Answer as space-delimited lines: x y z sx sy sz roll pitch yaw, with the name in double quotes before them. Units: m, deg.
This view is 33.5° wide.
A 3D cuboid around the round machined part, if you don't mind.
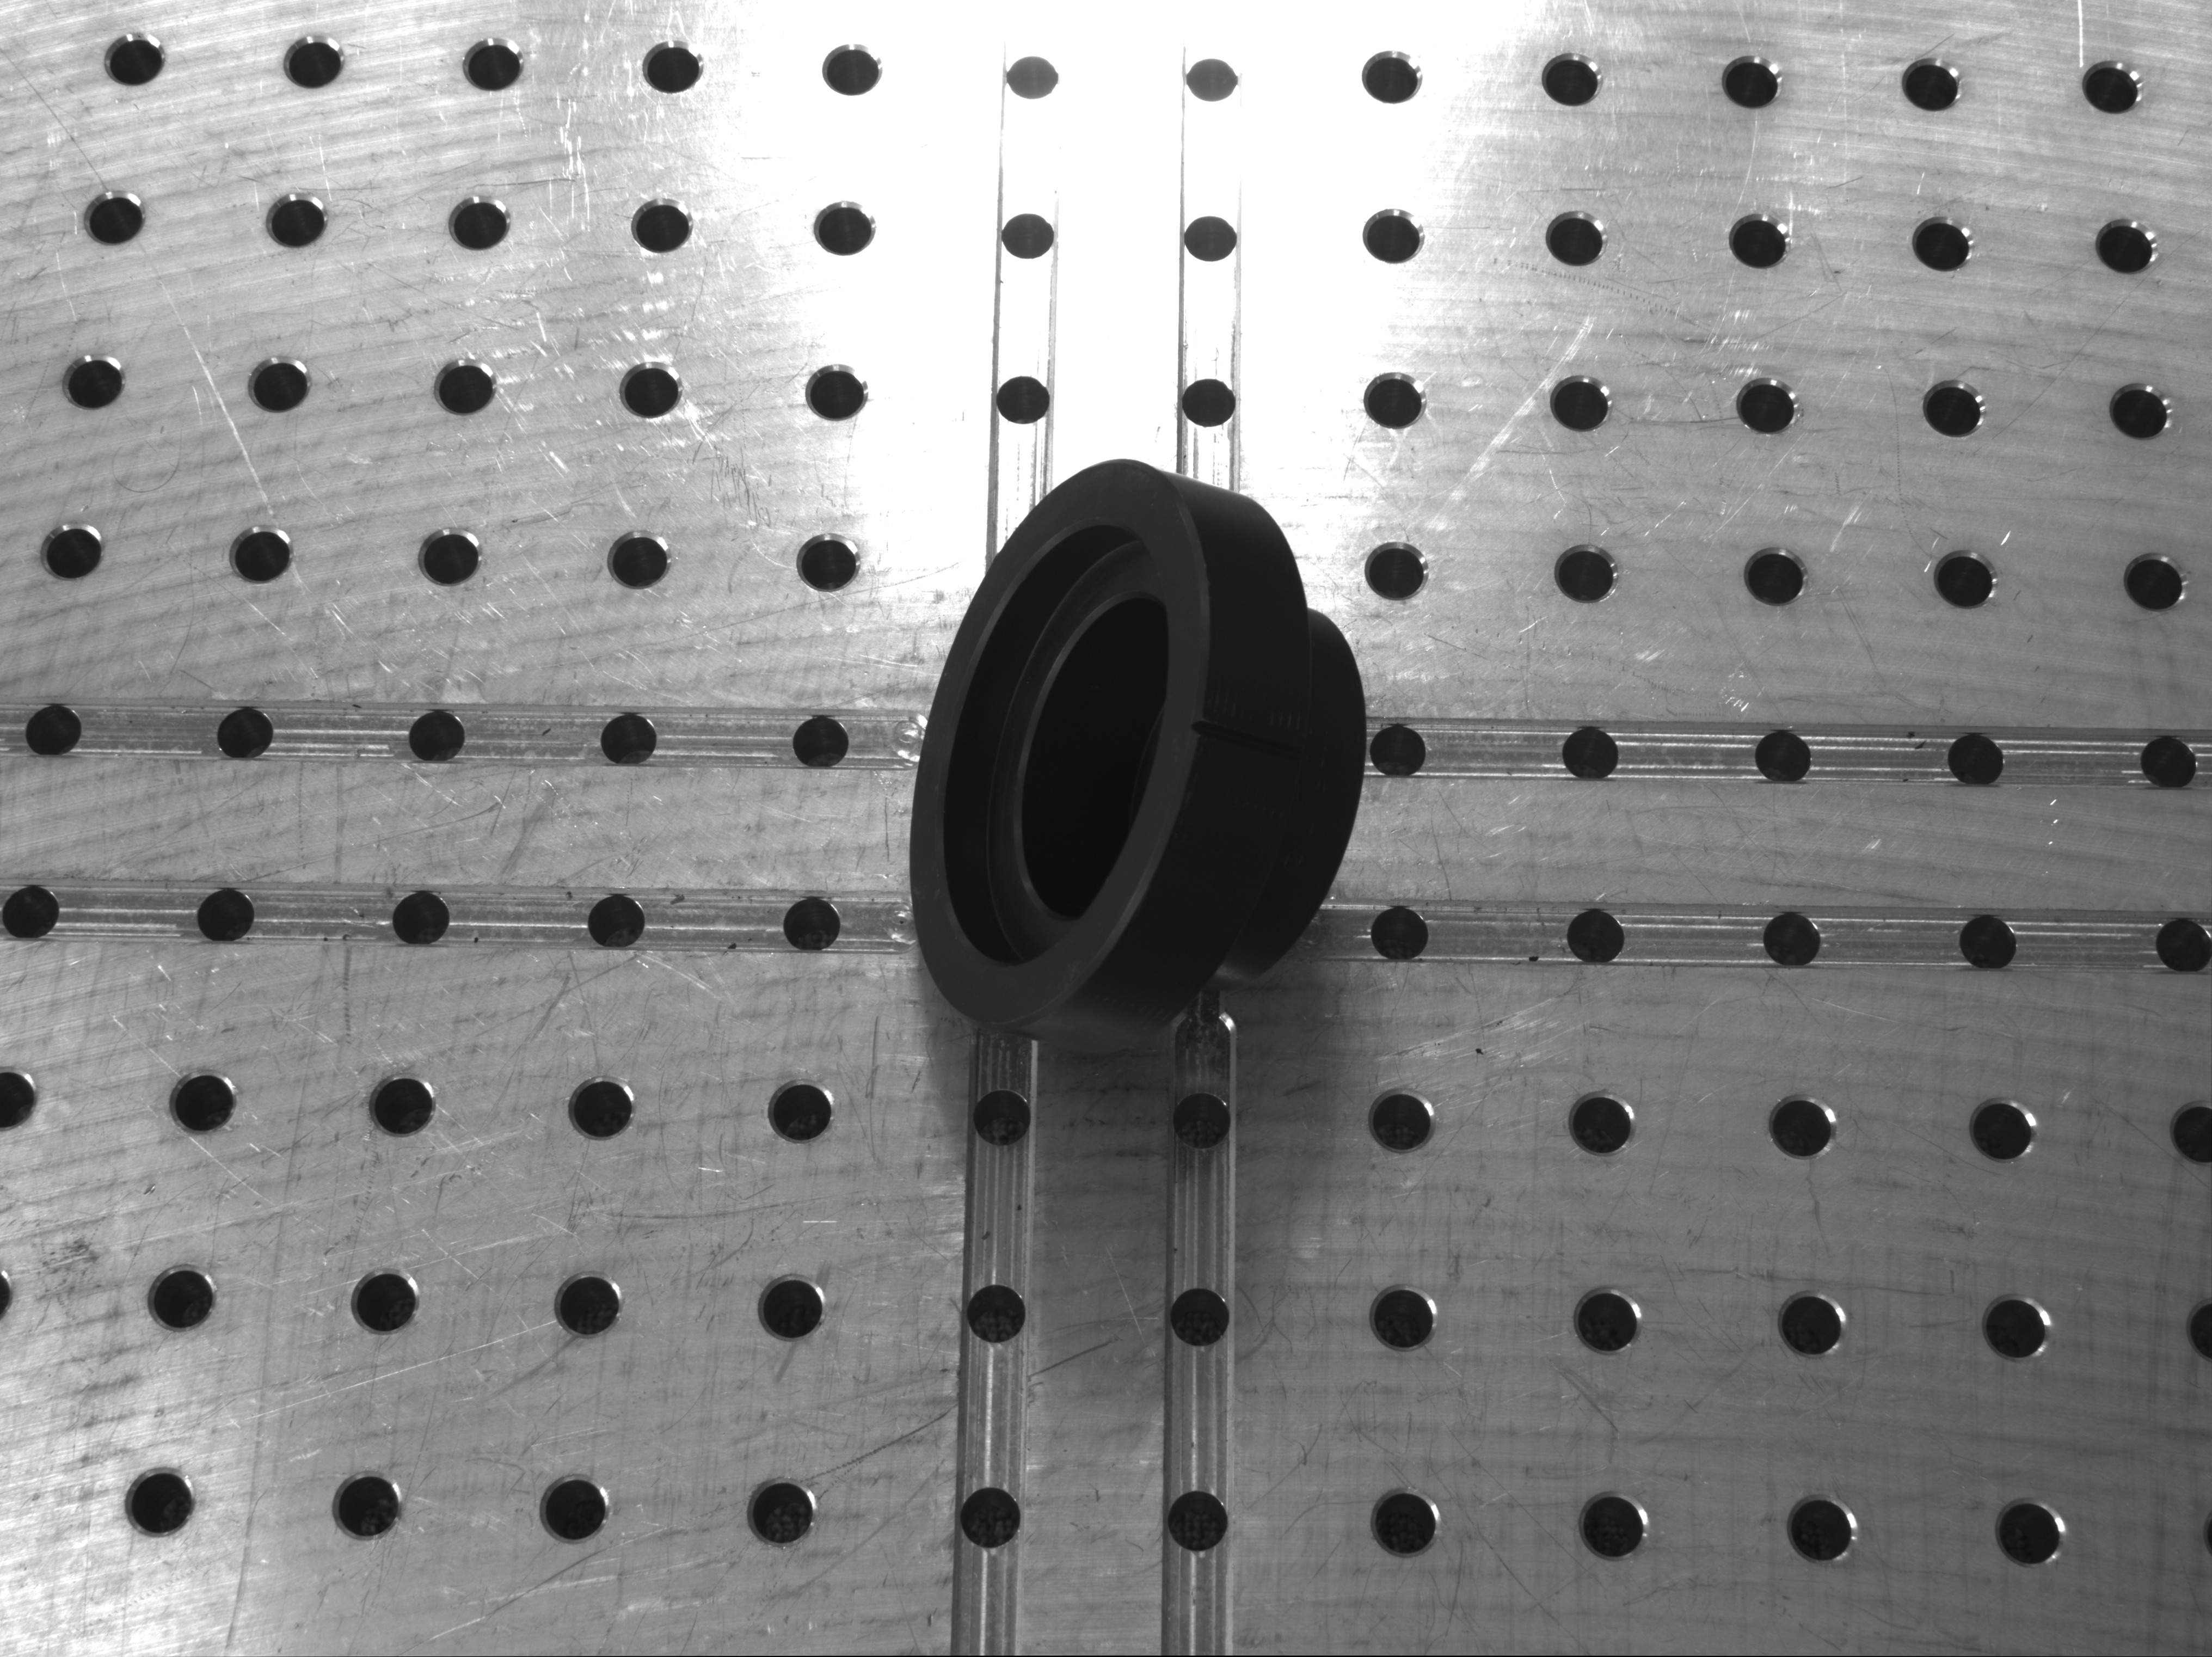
"round machined part" 0.008 -0.009 0.623 0.042 0.098 0.098 15 67 -27
